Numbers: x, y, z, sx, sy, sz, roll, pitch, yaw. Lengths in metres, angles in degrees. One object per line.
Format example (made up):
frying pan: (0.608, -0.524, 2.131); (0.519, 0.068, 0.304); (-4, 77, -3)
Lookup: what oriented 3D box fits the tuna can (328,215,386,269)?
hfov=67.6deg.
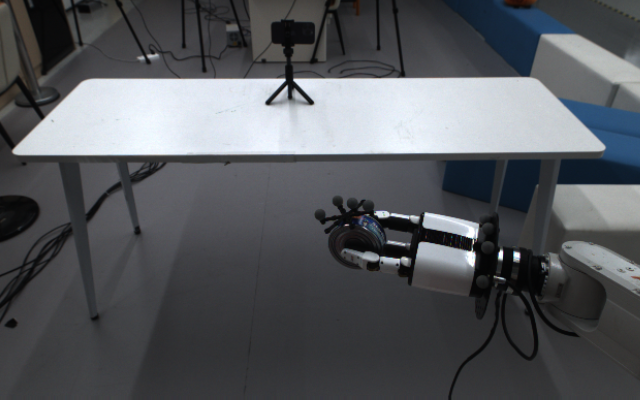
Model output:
tuna can: (0.060, 0.071, 0.740); (0.085, 0.085, 0.034); (11, 34, 13)
